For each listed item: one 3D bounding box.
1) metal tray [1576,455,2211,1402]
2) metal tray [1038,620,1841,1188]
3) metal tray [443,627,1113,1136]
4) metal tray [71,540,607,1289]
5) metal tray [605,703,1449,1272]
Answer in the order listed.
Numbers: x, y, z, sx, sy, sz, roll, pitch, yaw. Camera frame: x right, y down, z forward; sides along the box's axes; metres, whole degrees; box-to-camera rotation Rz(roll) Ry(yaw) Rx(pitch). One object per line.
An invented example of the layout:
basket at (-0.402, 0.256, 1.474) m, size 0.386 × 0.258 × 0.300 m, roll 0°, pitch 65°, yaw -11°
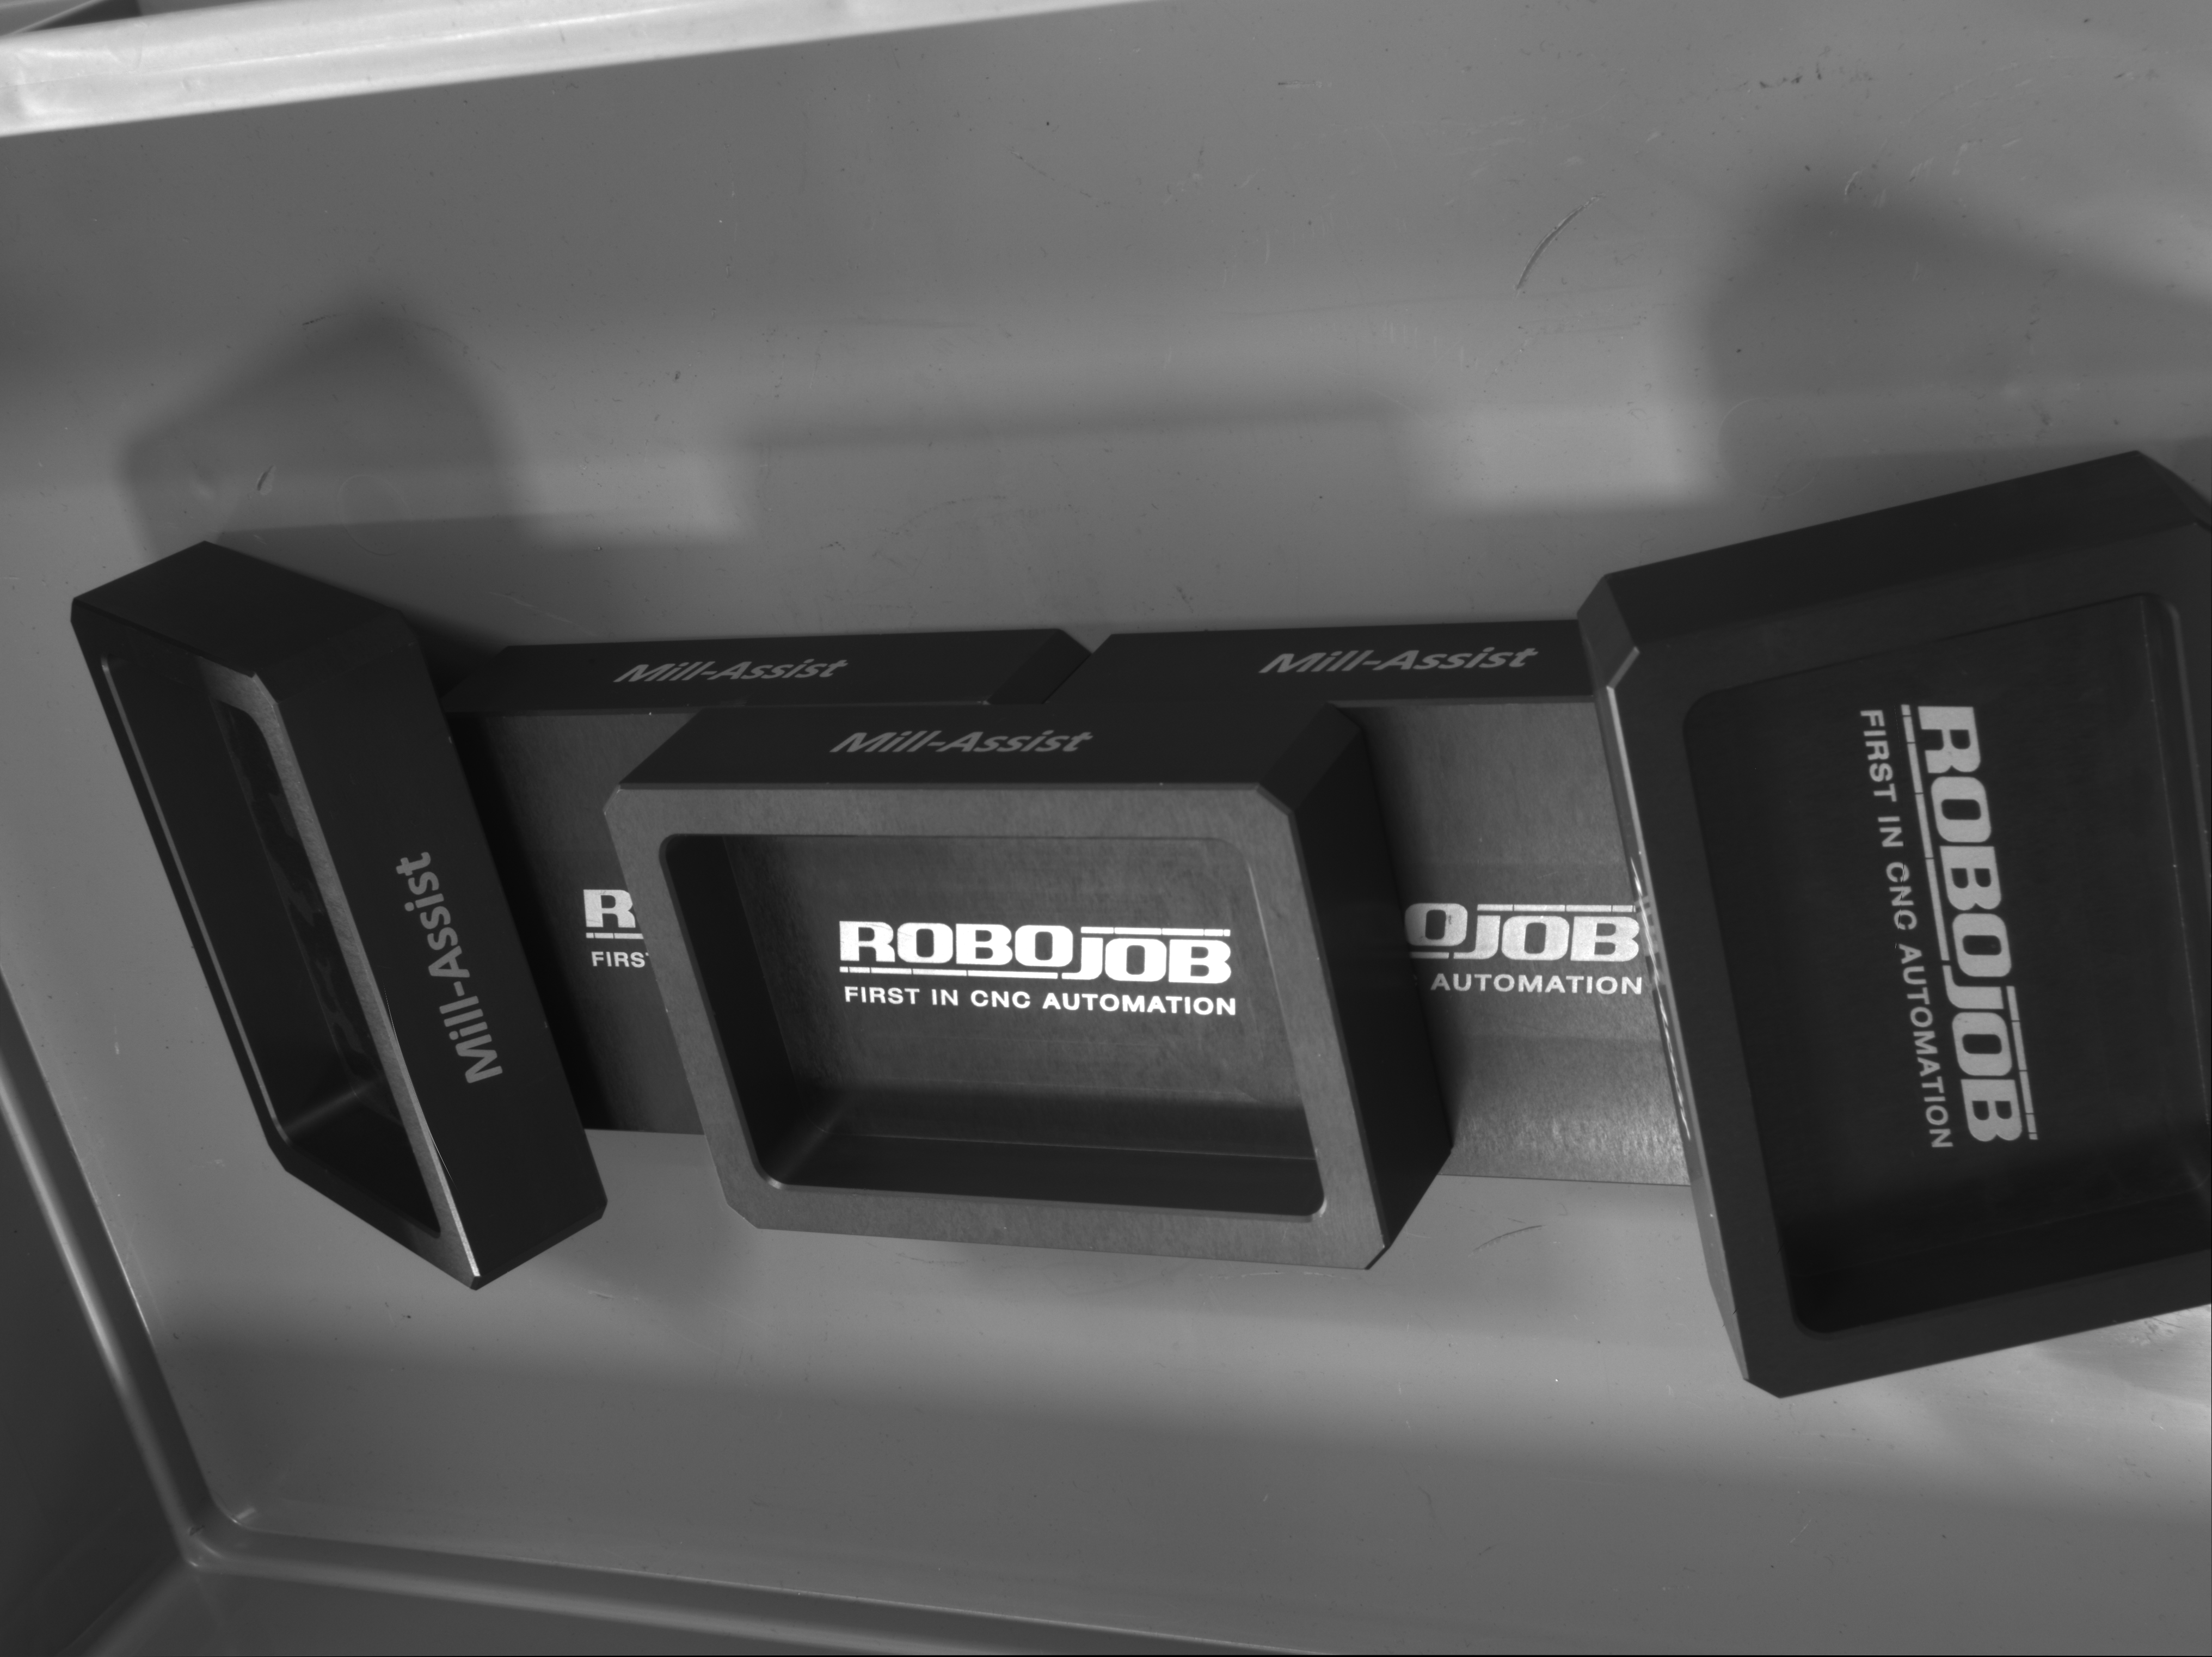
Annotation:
metal tray at (0.128, 0.017, 0.555) m, size 0.090 × 0.030 × 0.130 m, roll -13°, pitch 114°, yaw 3°
metal tray at (0.058, 0.012, 0.615) m, size 0.130 × 0.030 × 0.090 m, roll 0°, pitch 118°, yaw 28°
metal tray at (-0.057, 0.011, 0.676) m, size 0.130 × 0.030 × 0.090 m, roll 0°, pitch 118°, yaw 28°
metal tray at (-0.147, 0.015, 0.703) m, size 0.090 × 0.030 × 0.130 m, roll 19°, pitch 131°, yaw 49°
metal tray at (-0.014, 0.026, 0.622) m, size 0.130 × 0.030 × 0.090 m, roll 1°, pitch 118°, yaw 28°
